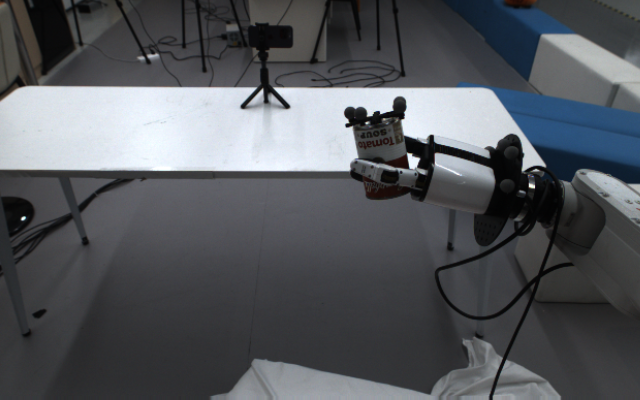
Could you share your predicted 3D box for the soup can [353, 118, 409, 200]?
[{"bbox_3d":[0.088,-0.059,0.667,0.067,0.101,0.067,-12,17,4],"label":"soup can"}]
